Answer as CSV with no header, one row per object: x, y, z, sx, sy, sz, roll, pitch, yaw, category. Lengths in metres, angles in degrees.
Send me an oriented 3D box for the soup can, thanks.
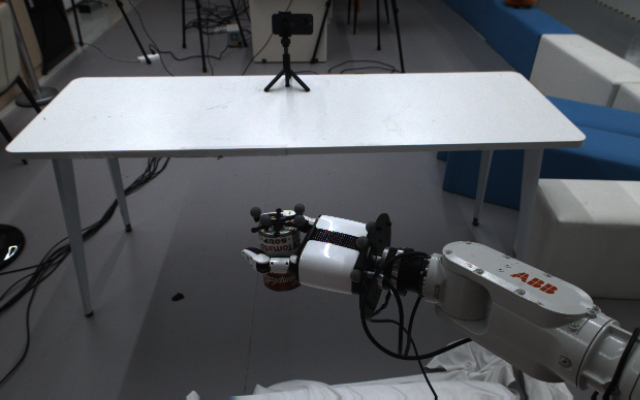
-0.060,0.084,0.766,0.067,0.101,0.067,-4,26,2,soup can
